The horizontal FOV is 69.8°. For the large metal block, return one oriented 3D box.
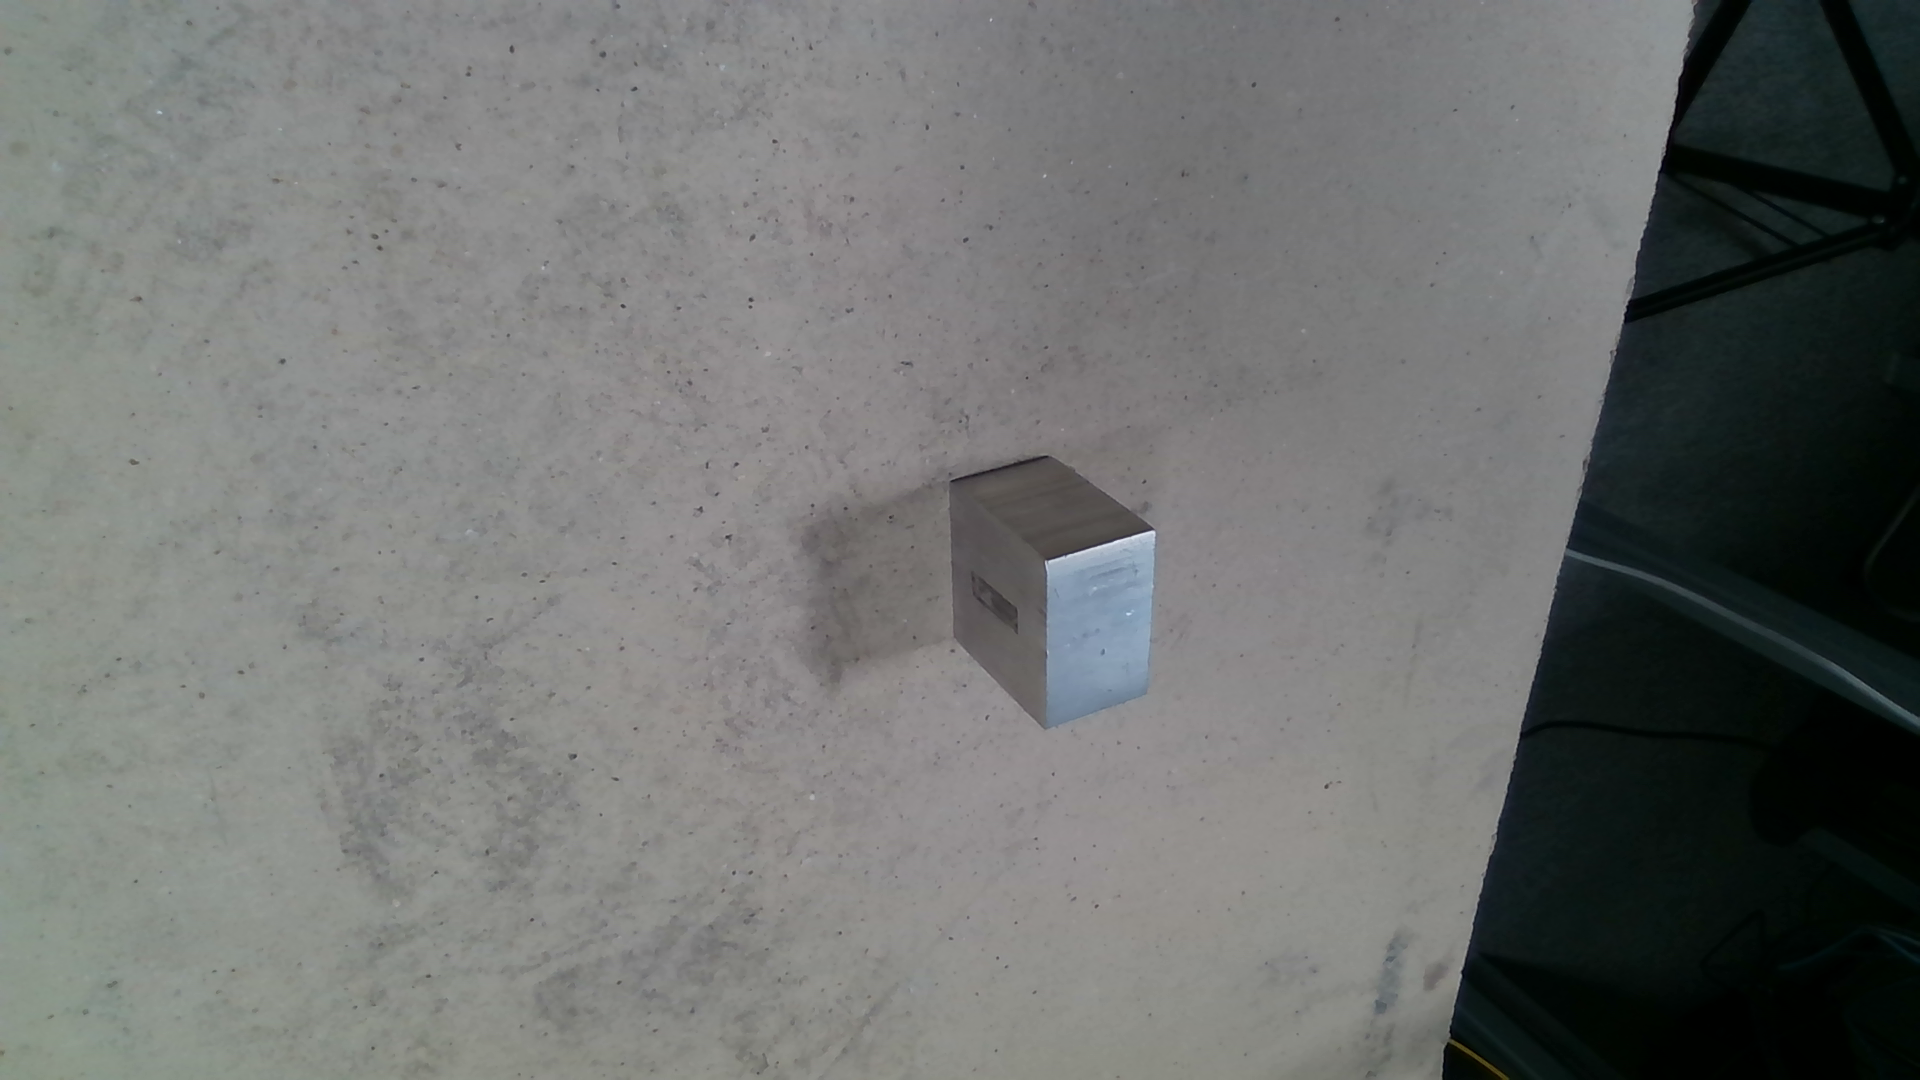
[{"bbox_3d":[0.037,0.020,0.579,0.050,0.080,0.080,-16,122,-24],"label":"large metal block"}]
